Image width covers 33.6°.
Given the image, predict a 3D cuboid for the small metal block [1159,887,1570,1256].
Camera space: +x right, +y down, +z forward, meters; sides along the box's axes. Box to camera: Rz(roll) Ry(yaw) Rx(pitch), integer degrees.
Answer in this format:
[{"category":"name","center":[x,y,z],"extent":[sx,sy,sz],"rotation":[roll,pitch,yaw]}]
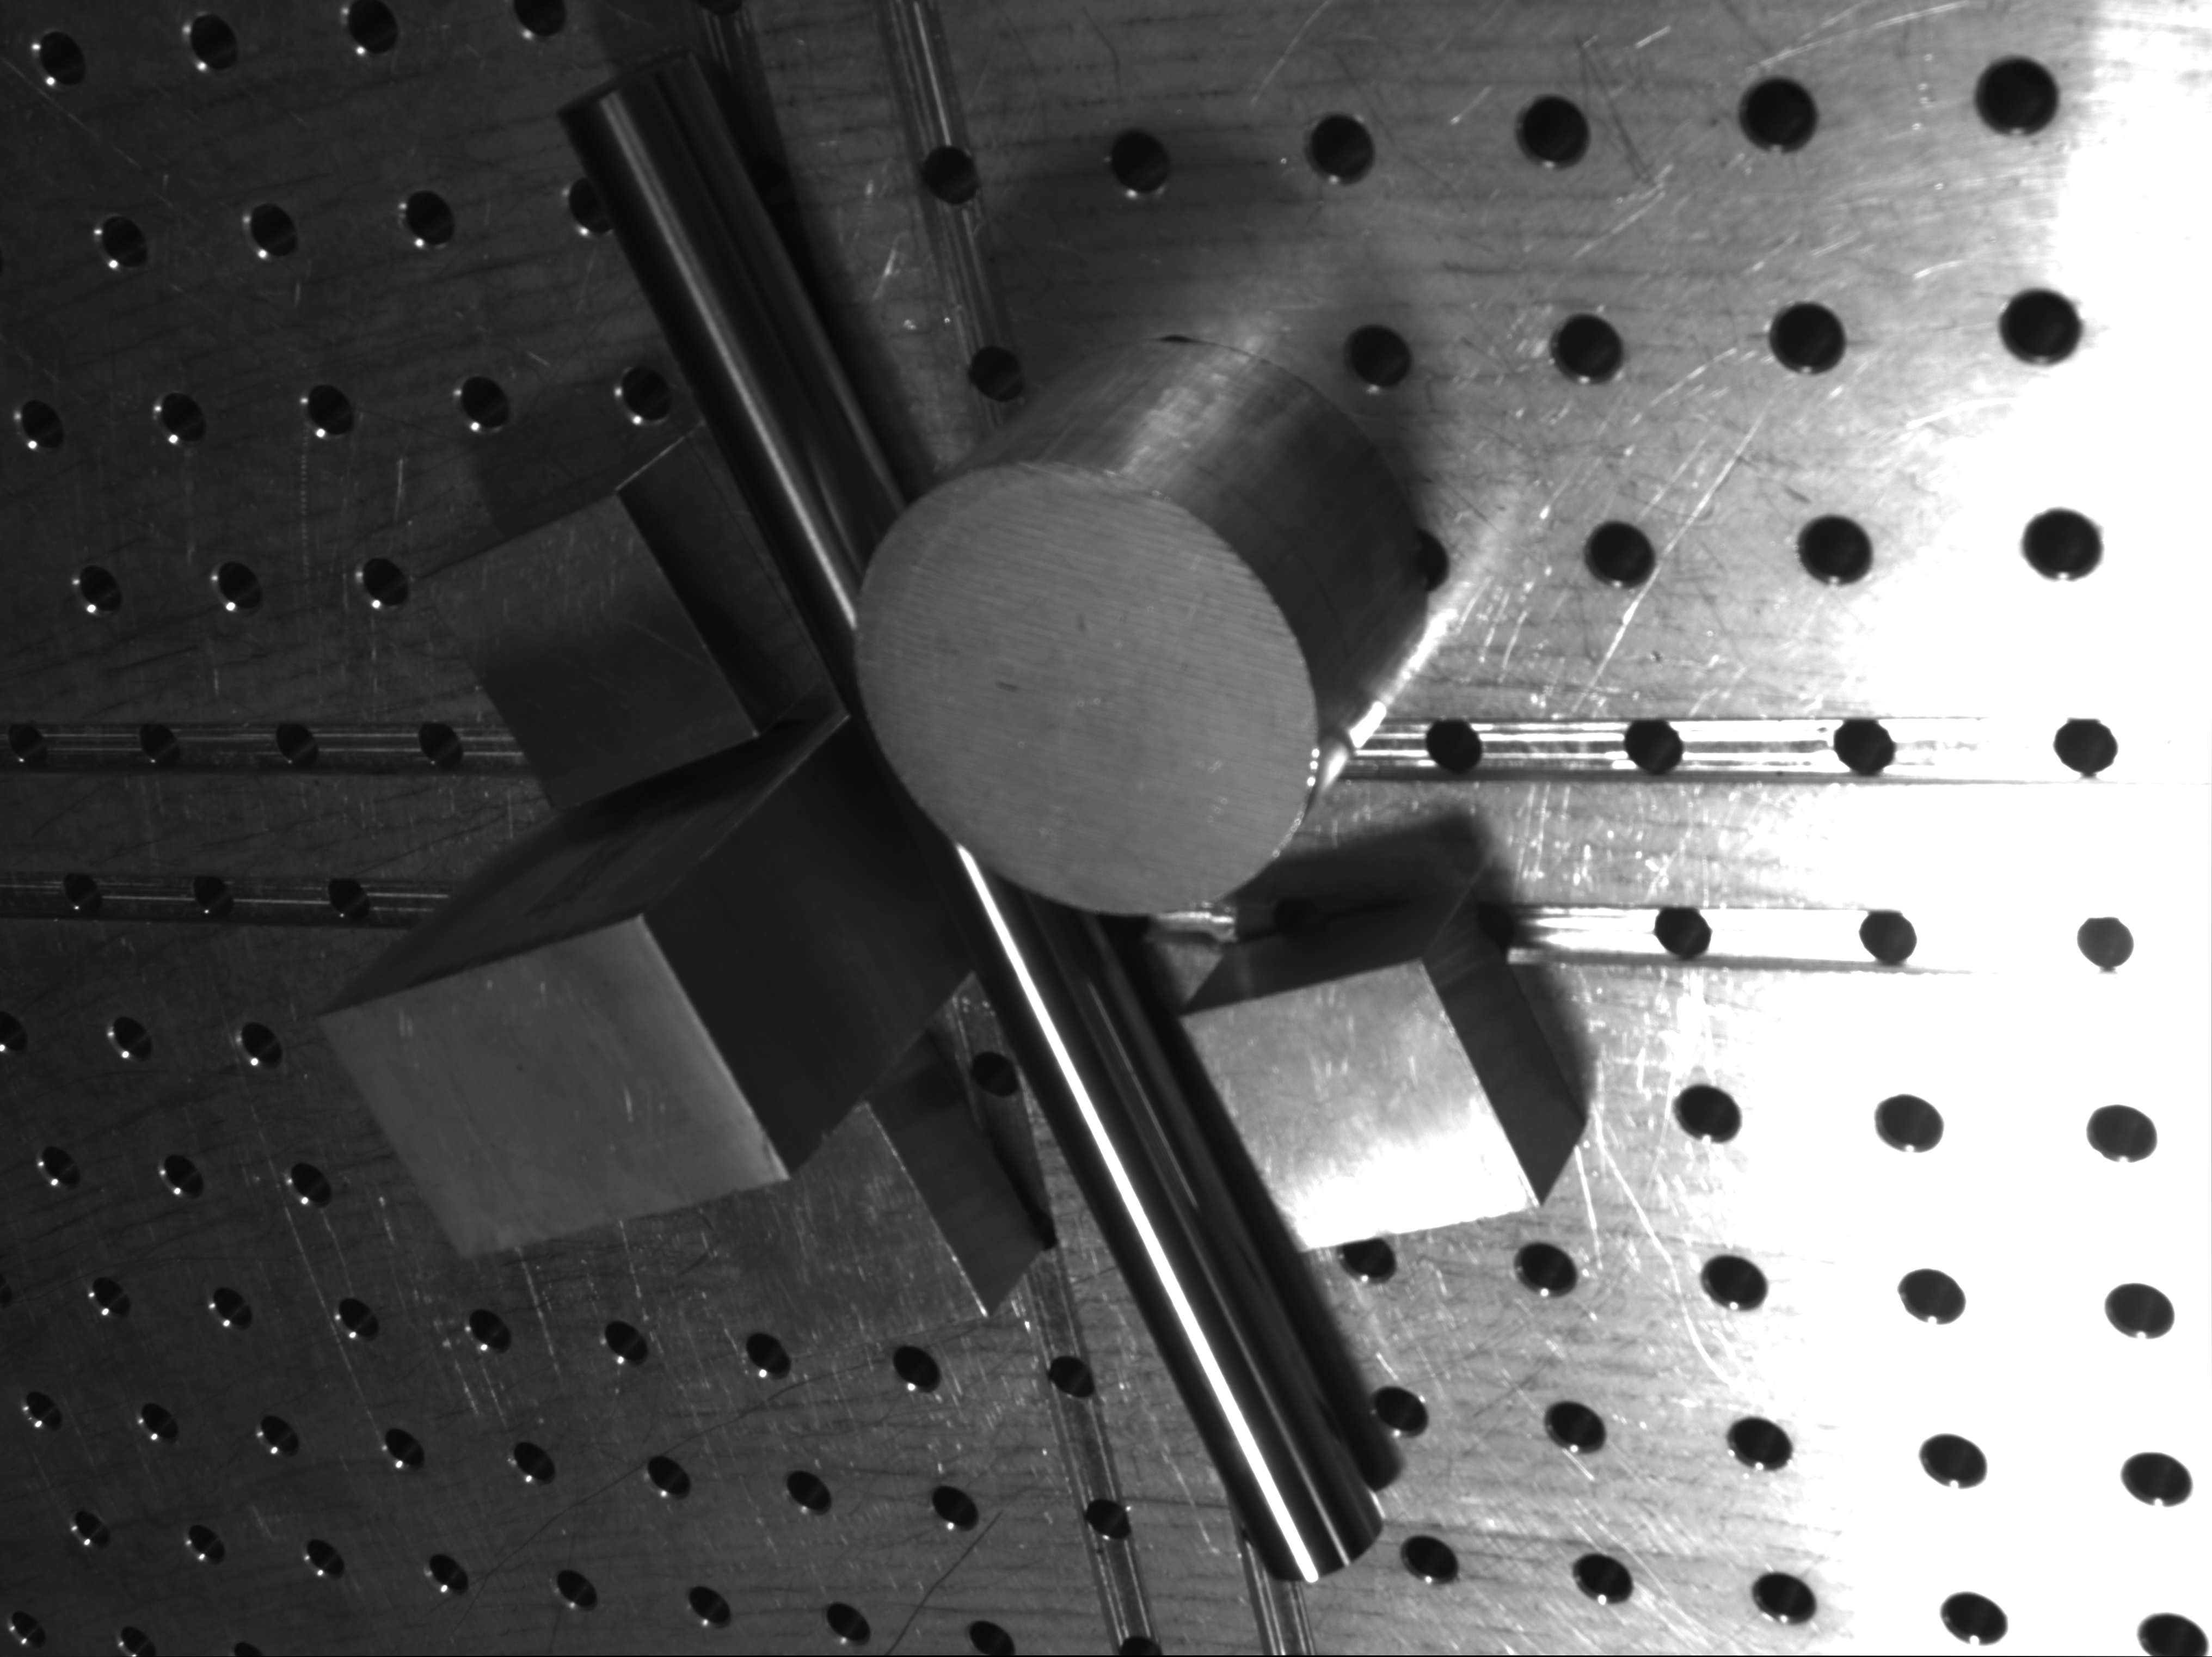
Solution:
[{"category":"small metal block","center":[0.045,0.043,0.637],"extent":[0.050,0.025,0.050],"rotation":[-16,110,33]}]

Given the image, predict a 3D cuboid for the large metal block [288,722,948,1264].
[{"category":"large metal block","center":[-0.084,0.028,0.656],"extent":[0.080,0.080,0.050],"rotation":[-16,110,33]}]

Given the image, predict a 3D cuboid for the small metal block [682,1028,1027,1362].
[{"category":"small metal block","center":[-0.051,0.071,0.702],"extent":[0.050,0.025,0.050],"rotation":[-17,110,33]}]

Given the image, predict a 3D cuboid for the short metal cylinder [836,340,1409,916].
[{"category":"short metal cylinder","center":[0.003,-0.033,0.596],"extent":[0.080,0.050,0.080],"rotation":[12,123,20]}]

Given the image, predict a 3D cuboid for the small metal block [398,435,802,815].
[{"category":"small metal block","center":[-0.090,-0.036,0.658],"extent":[0.050,0.025,0.050],"rotation":[-19,109,34]}]

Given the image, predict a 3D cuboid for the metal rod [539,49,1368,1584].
[{"category":"metal rod","center":[-0.022,0.007,0.648],"extent":[0.025,0.025,0.300],"rotation":[-13,112,32]}]
